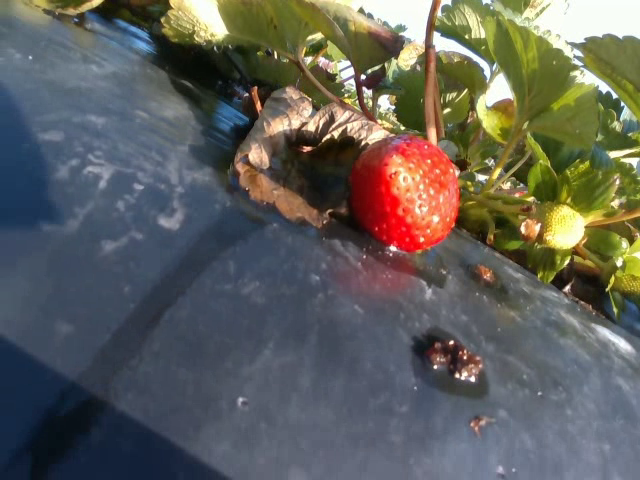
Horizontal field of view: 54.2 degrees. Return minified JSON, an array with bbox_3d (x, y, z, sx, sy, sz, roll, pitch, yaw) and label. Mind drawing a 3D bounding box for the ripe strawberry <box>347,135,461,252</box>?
[{"bbox_3d":[0.021,-0.014,0.164,0.037,0.047,0.054,-45,-18,13],"label":"ripe strawberry"}]
